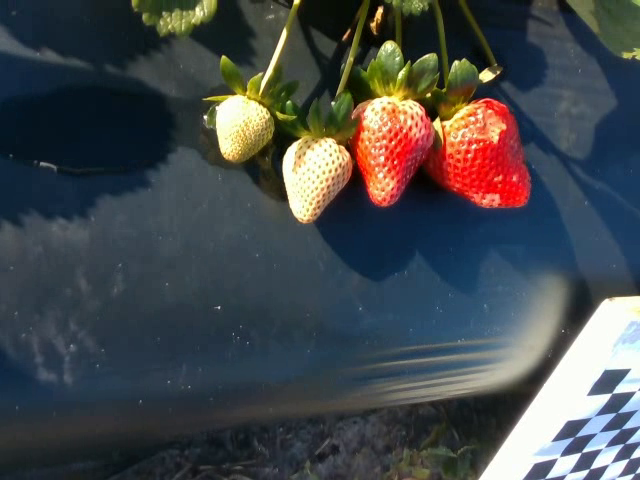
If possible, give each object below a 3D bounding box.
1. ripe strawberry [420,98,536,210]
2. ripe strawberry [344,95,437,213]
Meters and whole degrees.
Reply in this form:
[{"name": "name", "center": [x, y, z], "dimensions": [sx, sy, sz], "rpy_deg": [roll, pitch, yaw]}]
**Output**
[{"name": "ripe strawberry", "center": [0.083, -0.039, 0.308], "dimensions": [0.056, 0.067, 0.051], "rpy_deg": [-37, -9, 7]}, {"name": "ripe strawberry", "center": [0.033, -0.041, 0.288], "dimensions": [0.043, 0.061, 0.050], "rpy_deg": [-5, -21, 44]}]
